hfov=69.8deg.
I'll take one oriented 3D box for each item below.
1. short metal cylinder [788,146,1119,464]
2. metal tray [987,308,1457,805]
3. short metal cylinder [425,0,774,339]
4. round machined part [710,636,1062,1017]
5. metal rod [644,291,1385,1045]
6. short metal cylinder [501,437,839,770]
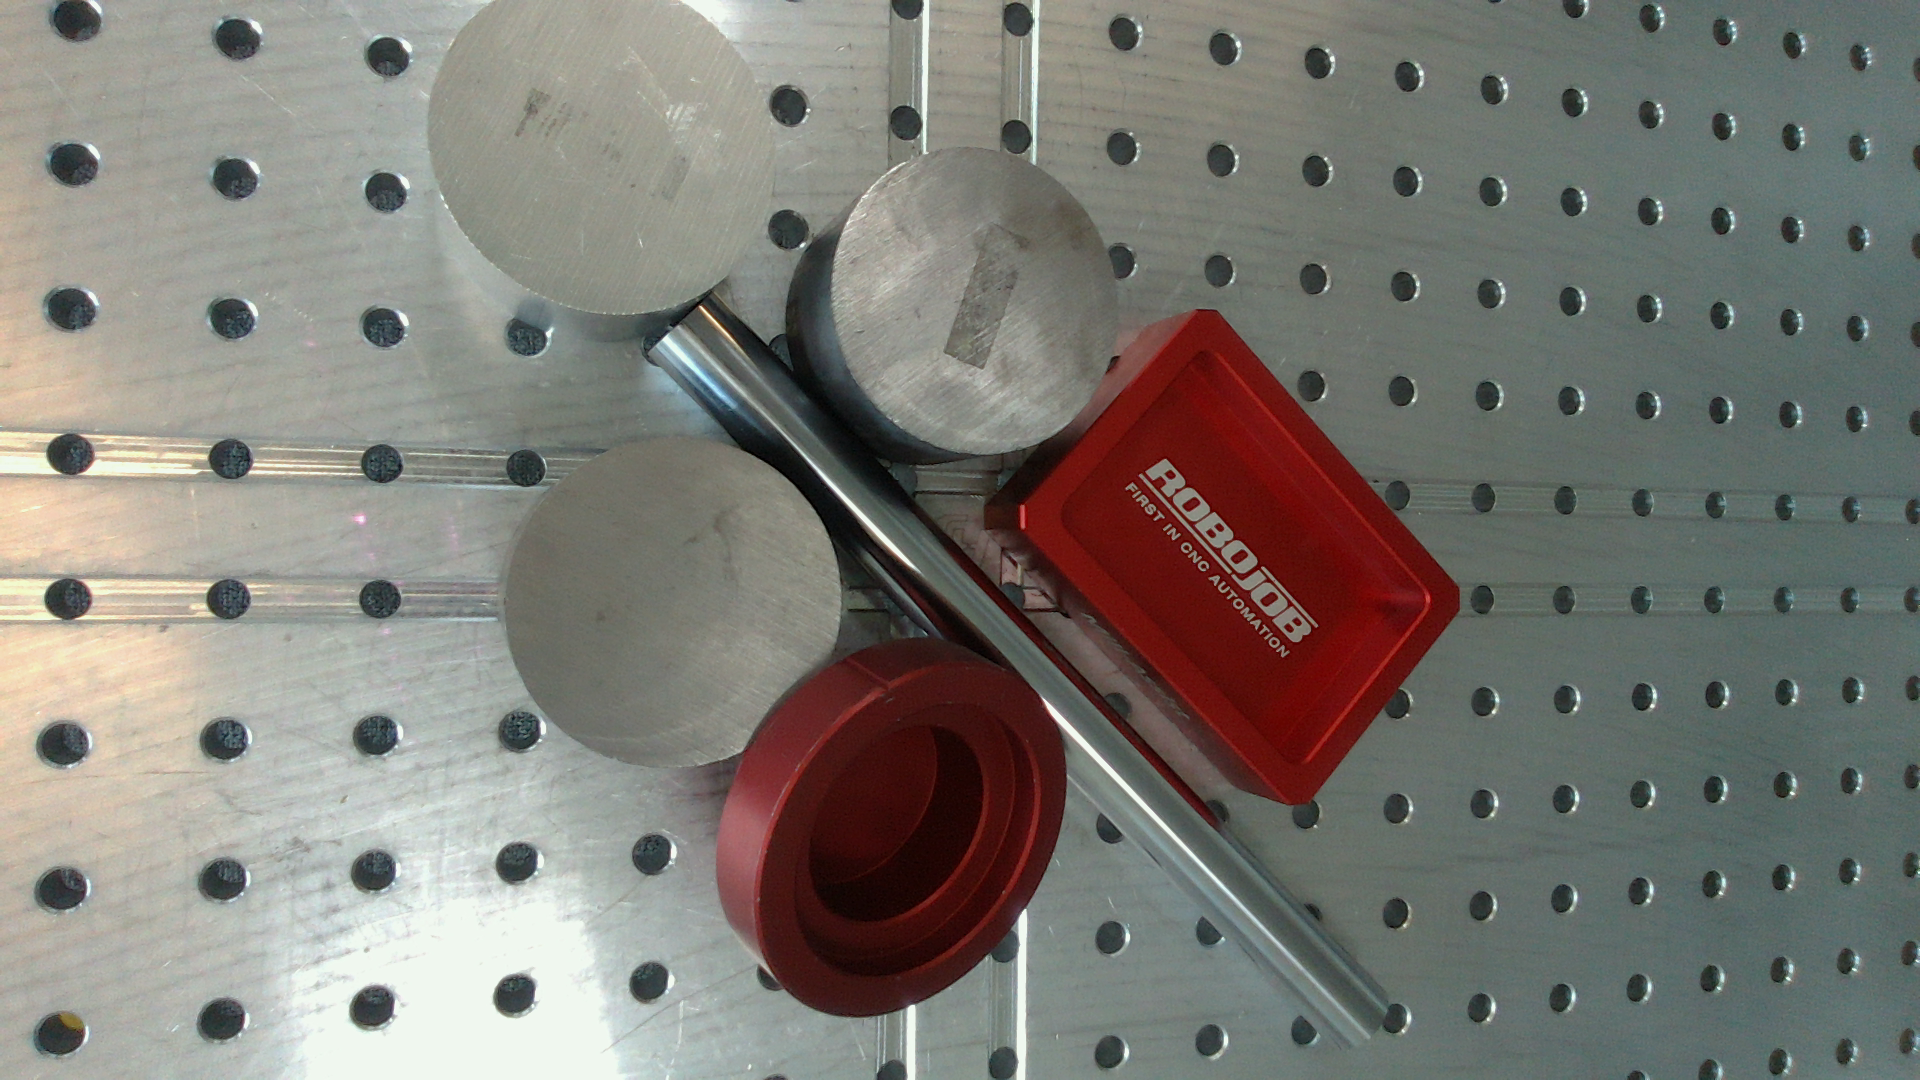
[{"bbox_3d":[-0.003,-0.062,0.381,0.080,0.050,0.080,0,90,-20],"label":"short metal cylinder"},{"bbox_3d":[0.082,0.006,0.422,0.130,0.030,0.090,46,77,-15],"label":"metal tray"},{"bbox_3d":[-0.092,-0.094,0.349,0.080,0.050,0.080,0,90,-20],"label":"short metal cylinder"},{"bbox_3d":[-0.023,0.072,0.367,0.098,0.042,0.098,-14,113,-35],"label":"round machined part"},{"bbox_3d":[0.025,0.046,0.406,0.300,0.025,0.025,46,76,-14],"label":"metal rod"},{"bbox_3d":[-0.077,0.015,0.354,0.080,0.050,0.080,0,90,-20],"label":"short metal cylinder"}]
